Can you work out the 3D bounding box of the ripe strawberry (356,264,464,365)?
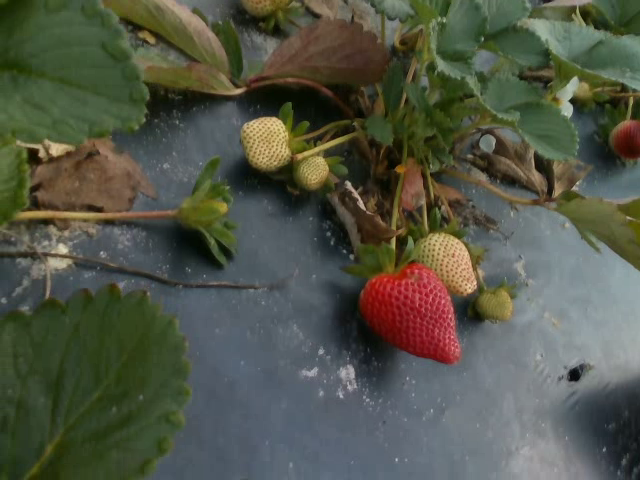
[{"bbox_3d":[0.046,0.034,0.279,0.050,0.033,0.059,-12,50,-39],"label":"ripe strawberry"}]
